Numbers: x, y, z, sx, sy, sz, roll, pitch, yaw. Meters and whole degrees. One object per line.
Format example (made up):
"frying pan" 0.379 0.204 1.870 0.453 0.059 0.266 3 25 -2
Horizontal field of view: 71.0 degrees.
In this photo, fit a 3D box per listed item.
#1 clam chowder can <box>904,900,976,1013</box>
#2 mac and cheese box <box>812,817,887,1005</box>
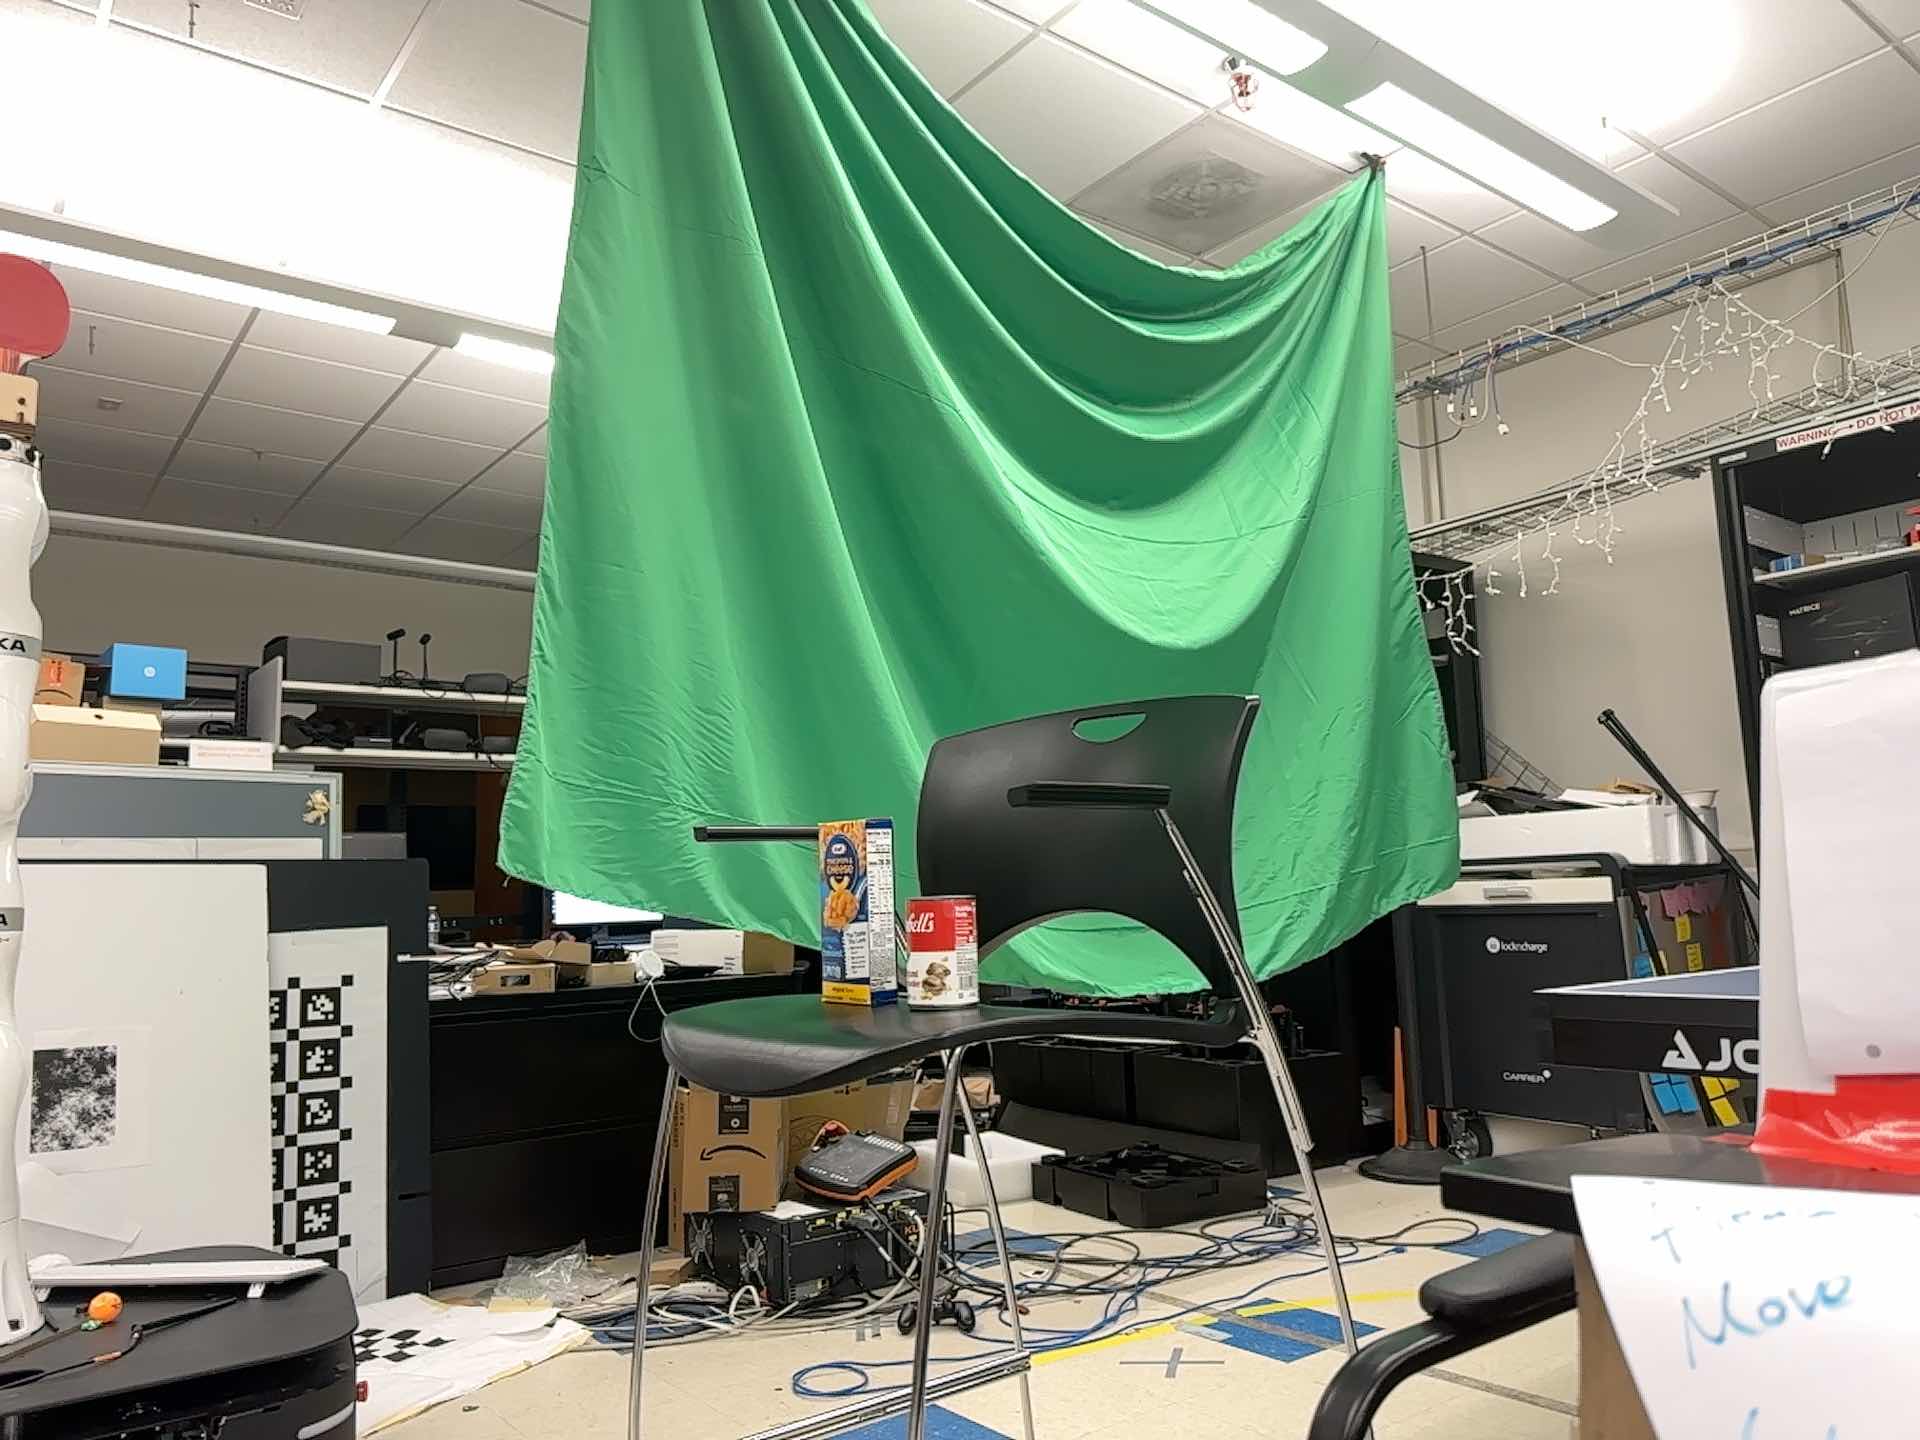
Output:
"clam chowder can" -0.019 0.222 1.272 0.068 0.102 0.068 -1 -7 0
"mac and cheese box" -0.114 0.193 1.373 0.035 0.181 0.088 1 -6 -32
